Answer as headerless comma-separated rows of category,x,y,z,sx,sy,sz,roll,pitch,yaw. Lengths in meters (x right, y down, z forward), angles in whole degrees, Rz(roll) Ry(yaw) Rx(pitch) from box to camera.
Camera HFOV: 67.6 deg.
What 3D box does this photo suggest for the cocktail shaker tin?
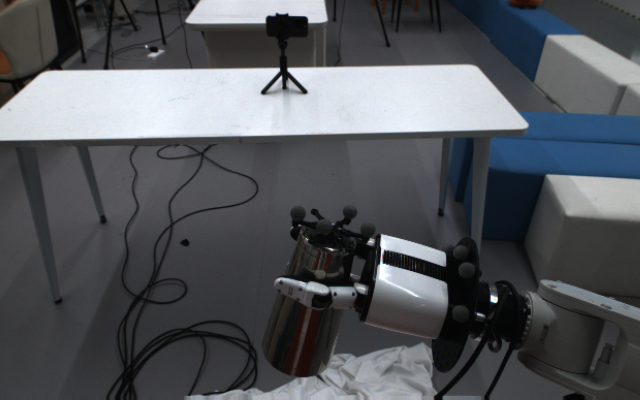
cocktail shaker tin,-0.006,0.113,0.583,0.093,0.170,0.093,12,25,-6
